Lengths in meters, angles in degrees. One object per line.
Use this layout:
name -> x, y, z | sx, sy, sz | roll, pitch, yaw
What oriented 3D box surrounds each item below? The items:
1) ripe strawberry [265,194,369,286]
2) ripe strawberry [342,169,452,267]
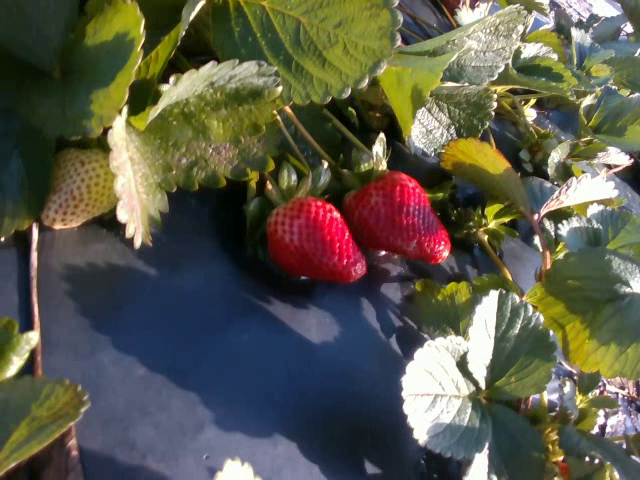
ripe strawberry -> 0.000, 0.004, 0.252 | 0.051, 0.043, 0.037 | 38, -19, 17
ripe strawberry -> 0.041, -0.007, 0.289 | 0.052, 0.057, 0.046 | -38, -23, -23
